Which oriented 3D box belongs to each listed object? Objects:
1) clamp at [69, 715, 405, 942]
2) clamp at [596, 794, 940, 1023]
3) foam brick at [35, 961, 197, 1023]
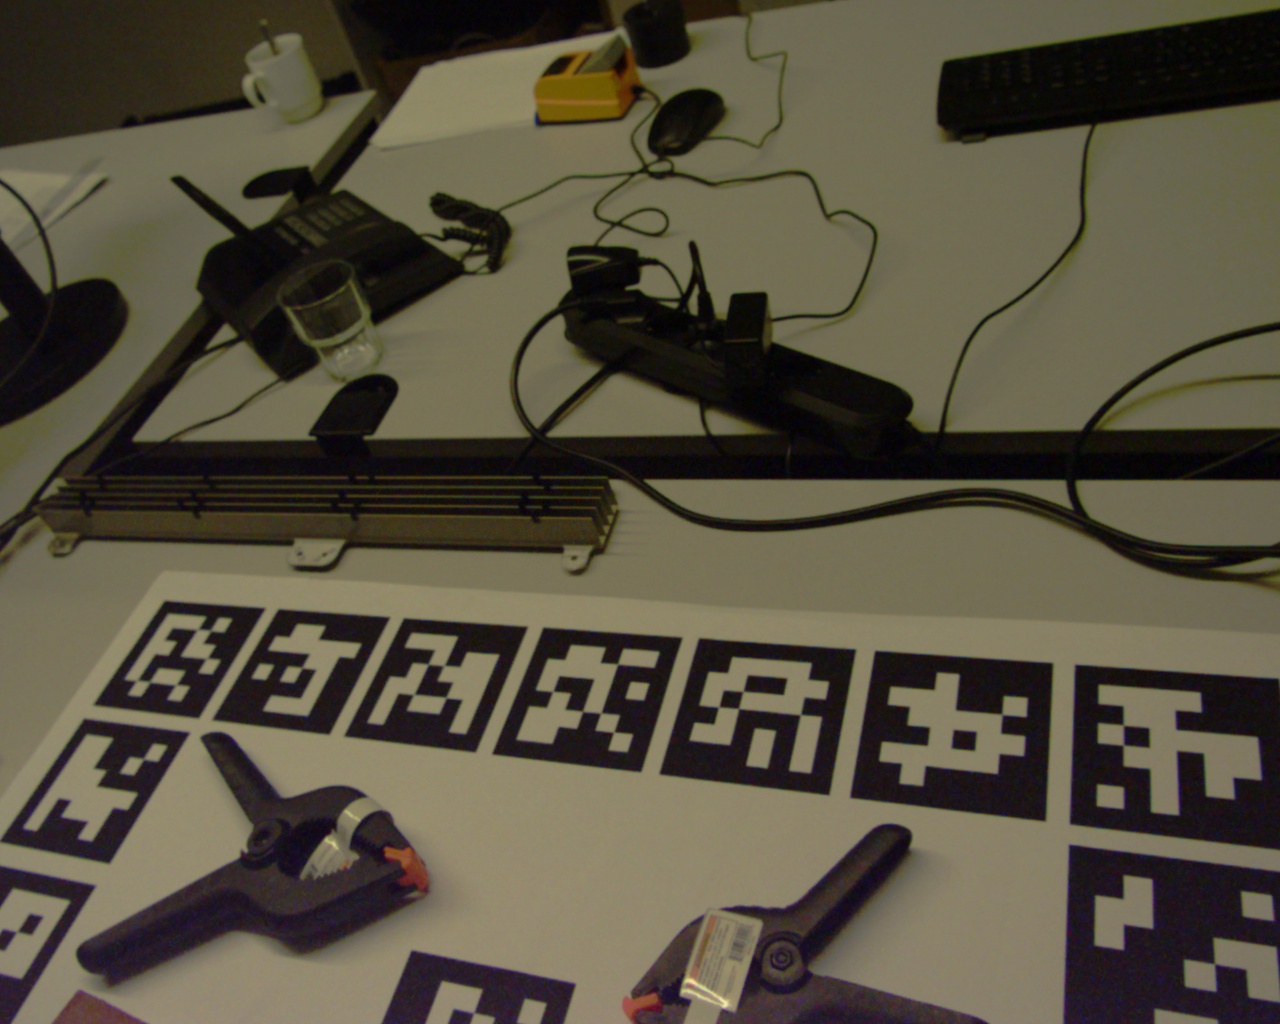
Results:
[{"bbox_3d":[-0.244,0.206,0.732,0.205,0.036,0.165,-1,44,20],"label":"clamp"},{"bbox_3d":[0.057,0.226,0.600,0.165,0.036,0.123,-19,50,4],"label":"clamp"},{"bbox_3d":[-0.299,0.302,0.652,0.079,0.051,0.052,6,51,31],"label":"foam brick"}]
